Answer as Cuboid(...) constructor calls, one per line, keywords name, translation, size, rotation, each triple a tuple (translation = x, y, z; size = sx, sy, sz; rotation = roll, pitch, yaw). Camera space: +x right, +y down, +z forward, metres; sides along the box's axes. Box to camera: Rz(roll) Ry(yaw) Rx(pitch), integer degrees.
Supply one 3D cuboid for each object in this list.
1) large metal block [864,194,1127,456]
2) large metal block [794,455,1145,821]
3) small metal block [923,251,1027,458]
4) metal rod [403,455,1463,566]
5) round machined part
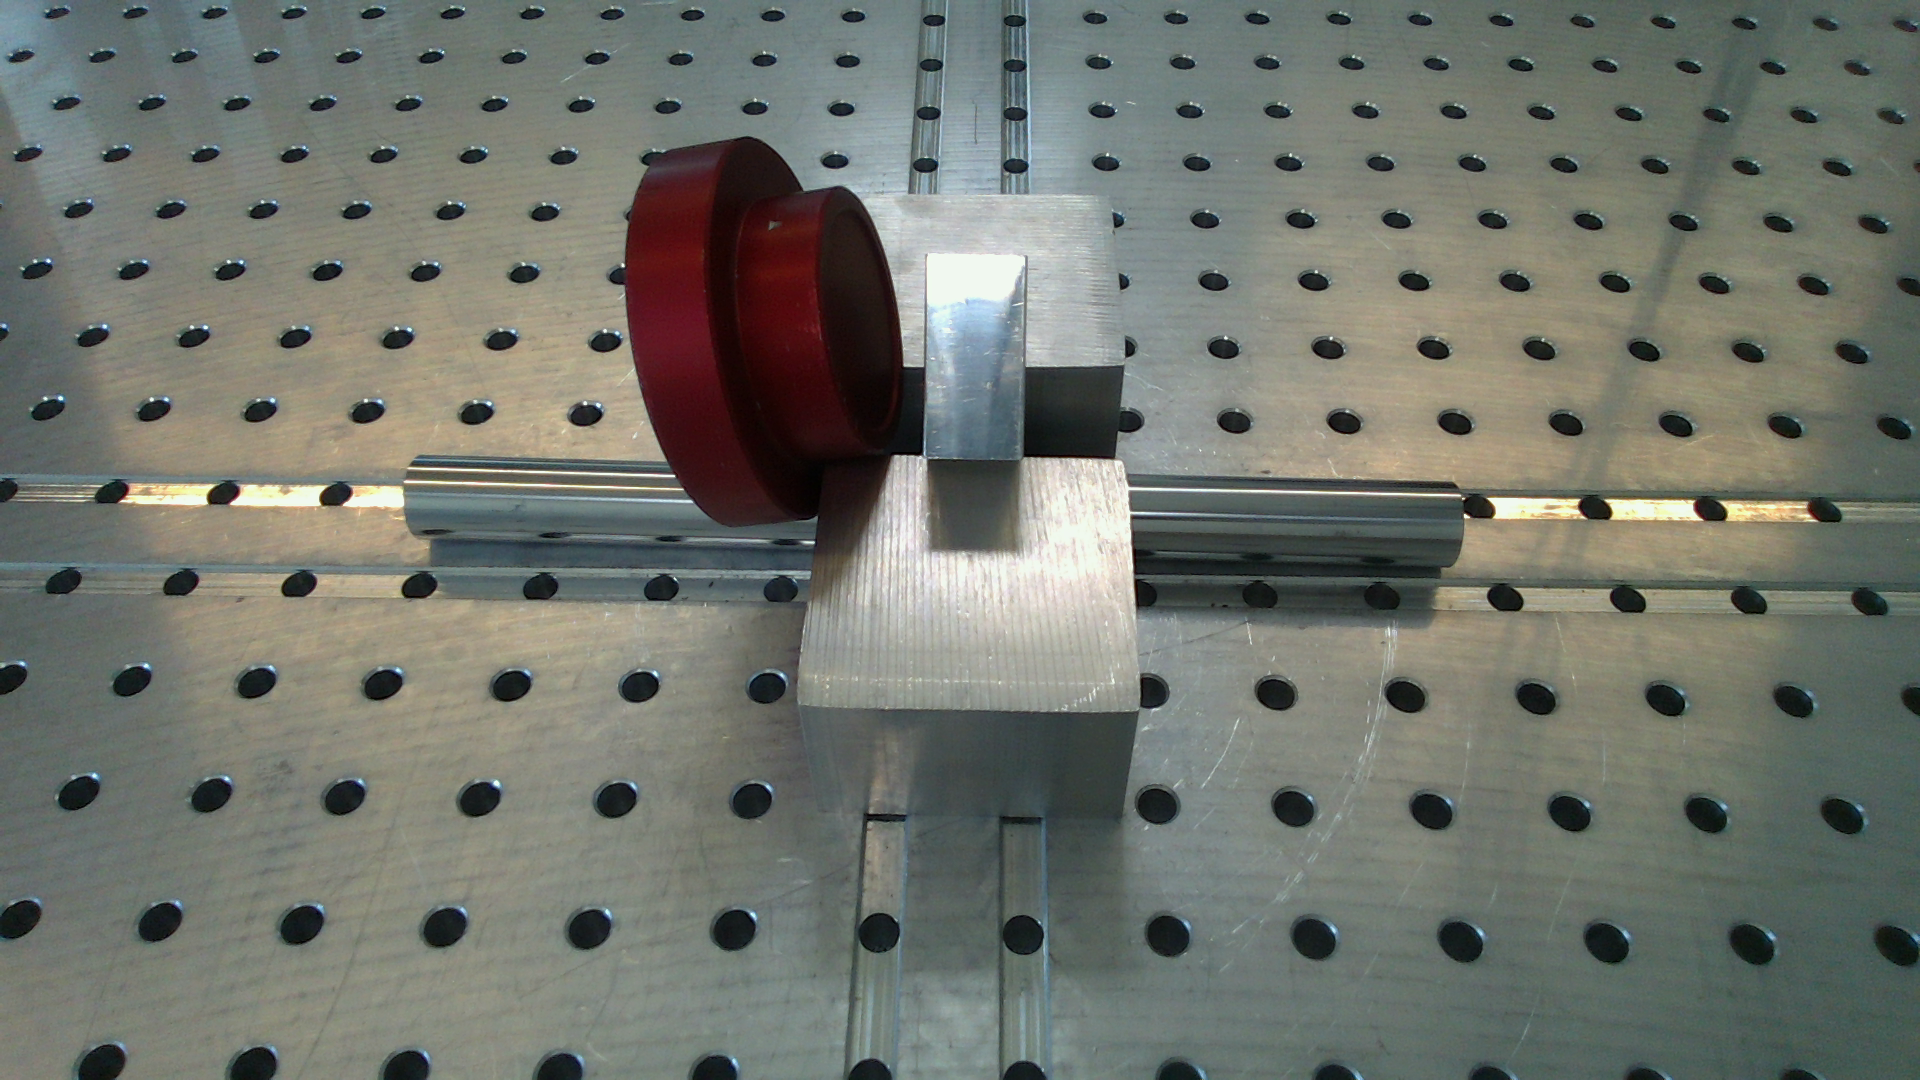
Cuboid(name="large metal block", translation=(0.008, -0.064, 0.432), size=(0.080, 0.050, 0.080), rotation=(1, 50, 0))
Cuboid(name="large metal block", translation=(0.003, 0.024, 0.358), size=(0.080, 0.050, 0.080), rotation=(1, 50, 1))
Cuboid(name="small metal block", translation=(0.004, -0.048, 0.361), size=(0.025, 0.050, 0.050), rotation=(1, 6, 1))
Cuboid(name="metal rod", translation=(-0.008, -0.009, 0.401), size=(0.300, 0.025, 0.025), rotation=(2, 50, 1))
Cuboid(name="round machined part", translation=(-0.044, -0.055, 0.355), size=(0.042, 0.098, 0.098), rotation=(-6, 49, 14))
